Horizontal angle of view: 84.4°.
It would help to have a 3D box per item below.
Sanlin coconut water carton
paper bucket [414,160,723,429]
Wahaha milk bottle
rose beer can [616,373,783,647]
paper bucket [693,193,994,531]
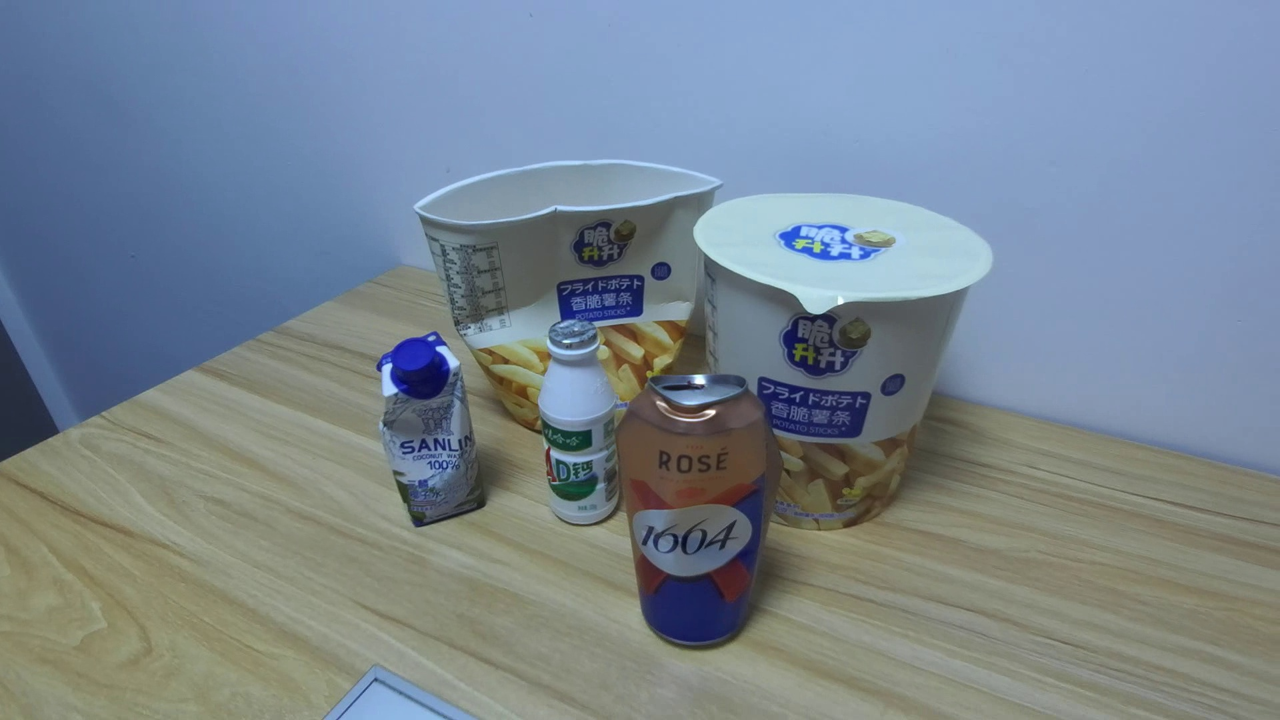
[{"bbox_3d":[-0.150,0.043,0.492,0.061,0.144,0.069,-15,35,-20],"label":"Sanlin coconut water carton"},{"bbox_3d":[-0.048,-0.054,0.595,0.147,0.199,0.218,26,41,35],"label":"paper bucket"},{"bbox_3d":[-0.039,0.044,0.482,0.053,0.147,0.053,0,30,0],"label":"Wahaha milk bottle"},{"bbox_3d":[0.033,0.085,0.401,0.069,0.168,0.069,23,37,38],"label":"rose beer can"},{"bbox_3d":[0.131,0.001,0.511,0.198,0.195,0.198,0,31,0],"label":"paper bucket"}]
